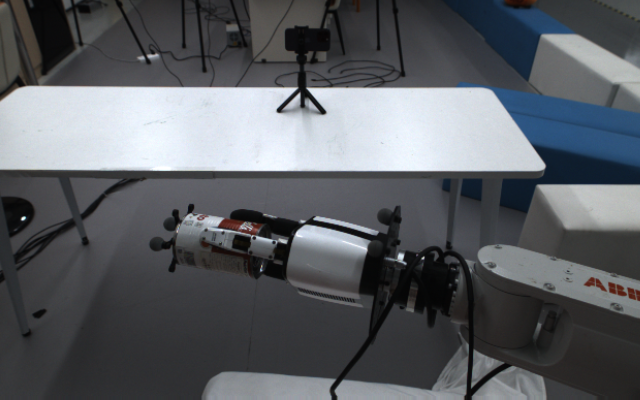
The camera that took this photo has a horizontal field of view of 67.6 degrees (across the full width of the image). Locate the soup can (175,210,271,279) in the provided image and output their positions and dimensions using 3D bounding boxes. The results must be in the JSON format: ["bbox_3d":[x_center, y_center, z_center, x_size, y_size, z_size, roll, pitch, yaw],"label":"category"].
[{"bbox_3d":[-0.116,0.056,0.592,0.101,0.067,0.067,8,35,11],"label":"soup can"}]
